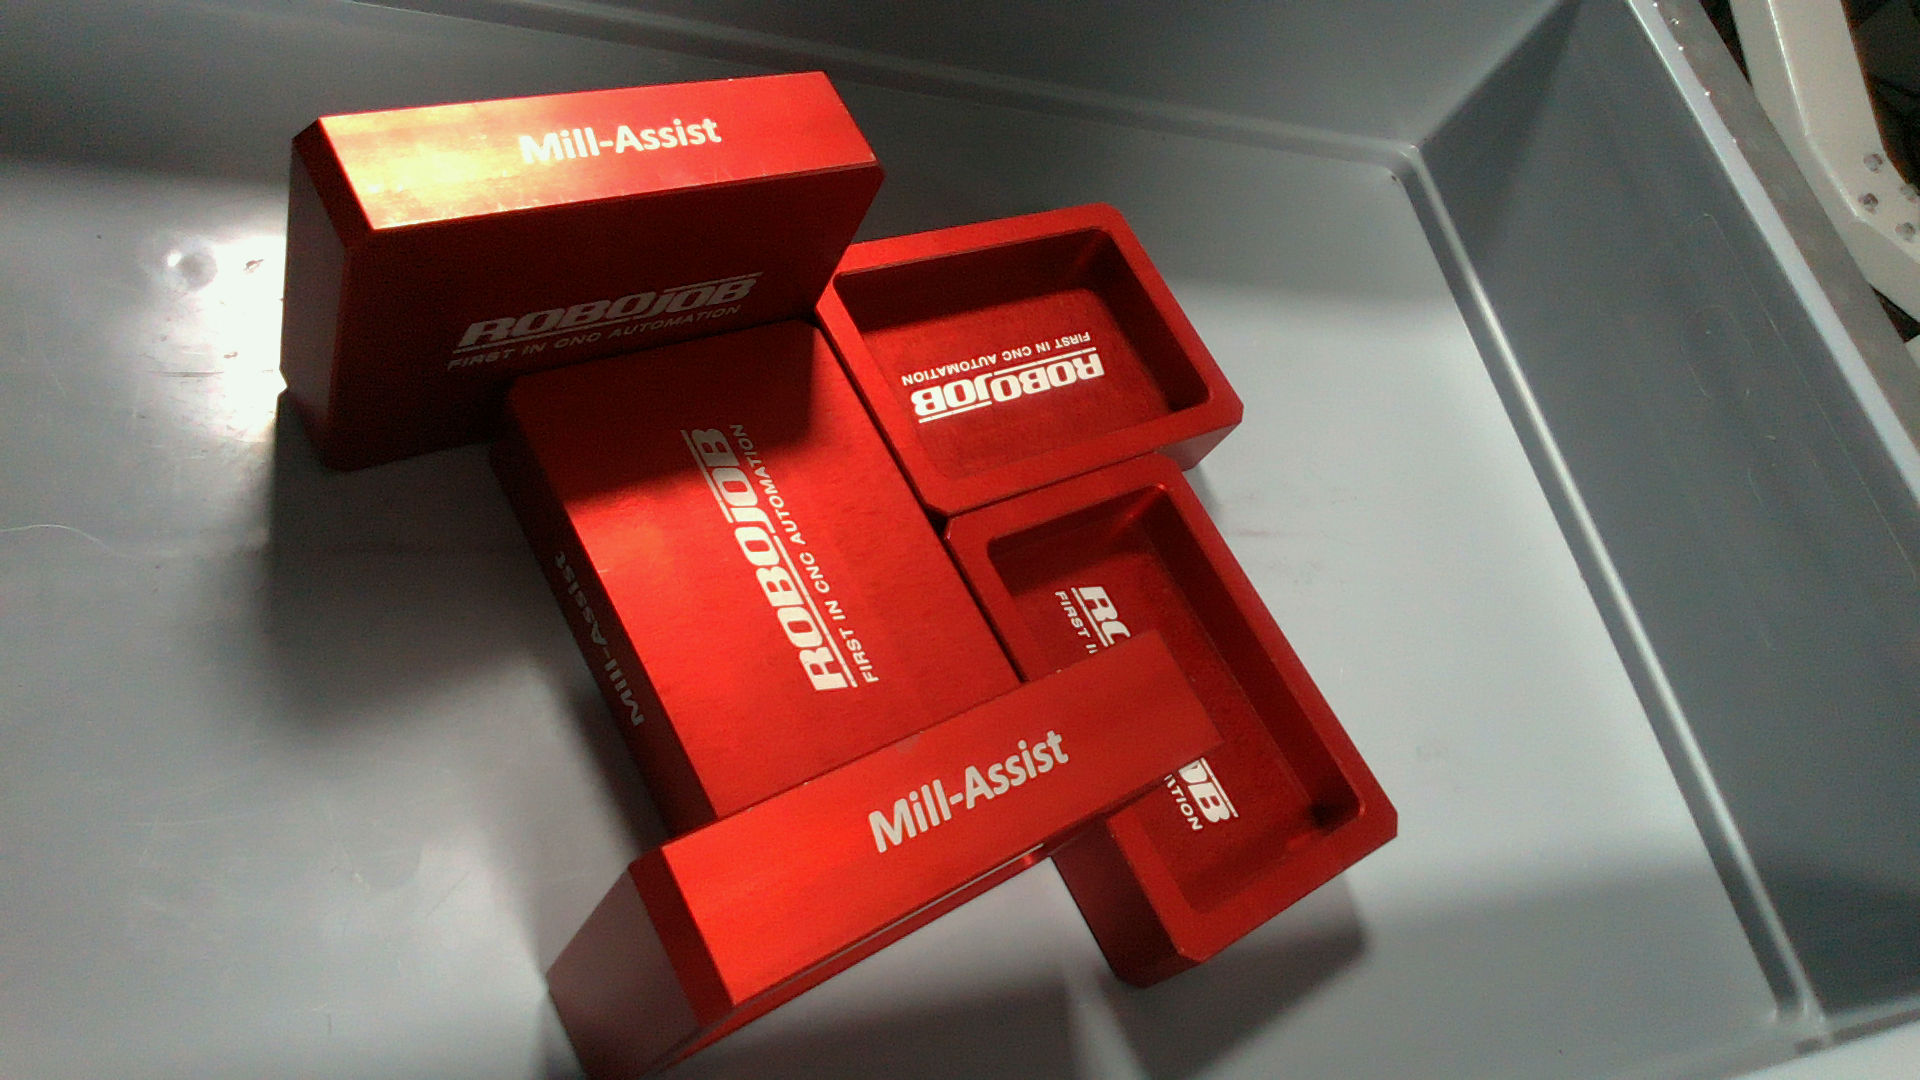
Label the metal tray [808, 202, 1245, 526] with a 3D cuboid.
[{"bbox_3d":[0.016,-0.053,0.426,0.130,0.030,0.090,-18,71,-35],"label":"metal tray"}]

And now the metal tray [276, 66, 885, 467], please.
[{"bbox_3d":[-0.092,-0.067,0.336,0.130,0.090,0.030,-20,72,-35],"label":"metal tray"}]

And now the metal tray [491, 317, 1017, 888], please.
[{"bbox_3d":[-0.050,0.010,0.350,0.090,0.030,0.130,-19,72,-35],"label":"metal tray"}]

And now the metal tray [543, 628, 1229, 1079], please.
[{"bbox_3d":[-0.015,0.068,0.295,0.130,0.090,0.030,-19,71,-35],"label":"metal tray"}]

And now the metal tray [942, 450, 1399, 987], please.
[{"bbox_3d":[0.054,0.044,0.386,0.090,0.030,0.130,-19,72,-35],"label":"metal tray"}]
